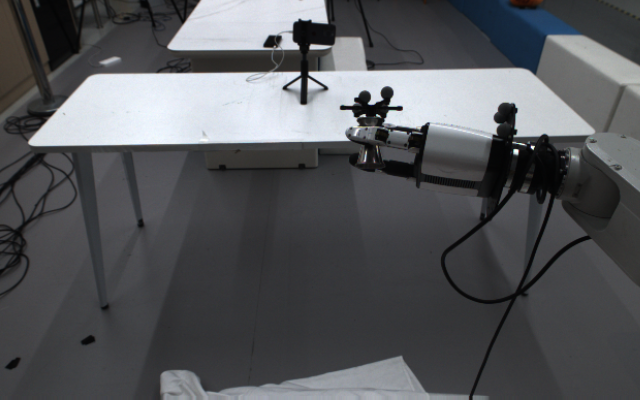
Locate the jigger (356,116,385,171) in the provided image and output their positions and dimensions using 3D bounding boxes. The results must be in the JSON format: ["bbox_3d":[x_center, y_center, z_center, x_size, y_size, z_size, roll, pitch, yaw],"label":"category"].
[{"bbox_3d":[0.071,-0.083,0.692,0.043,0.071,0.043,2,-6,0],"label":"jigger"}]
